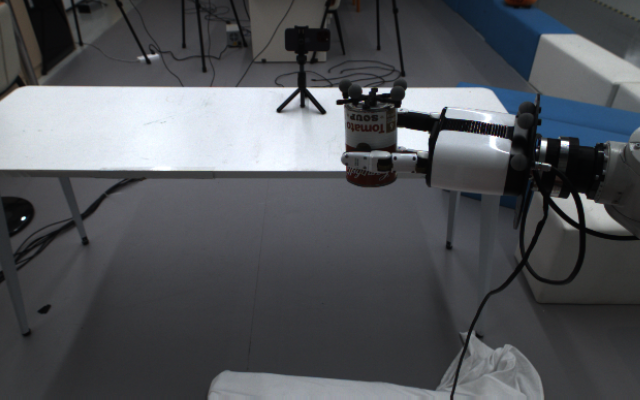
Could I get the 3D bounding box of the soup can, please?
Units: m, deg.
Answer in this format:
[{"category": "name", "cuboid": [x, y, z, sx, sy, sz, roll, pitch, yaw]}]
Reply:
[{"category": "soup can", "cuboid": [0.067, -0.077, 0.621, 0.067, 0.101, 0.067, -3, 26, 2]}]
